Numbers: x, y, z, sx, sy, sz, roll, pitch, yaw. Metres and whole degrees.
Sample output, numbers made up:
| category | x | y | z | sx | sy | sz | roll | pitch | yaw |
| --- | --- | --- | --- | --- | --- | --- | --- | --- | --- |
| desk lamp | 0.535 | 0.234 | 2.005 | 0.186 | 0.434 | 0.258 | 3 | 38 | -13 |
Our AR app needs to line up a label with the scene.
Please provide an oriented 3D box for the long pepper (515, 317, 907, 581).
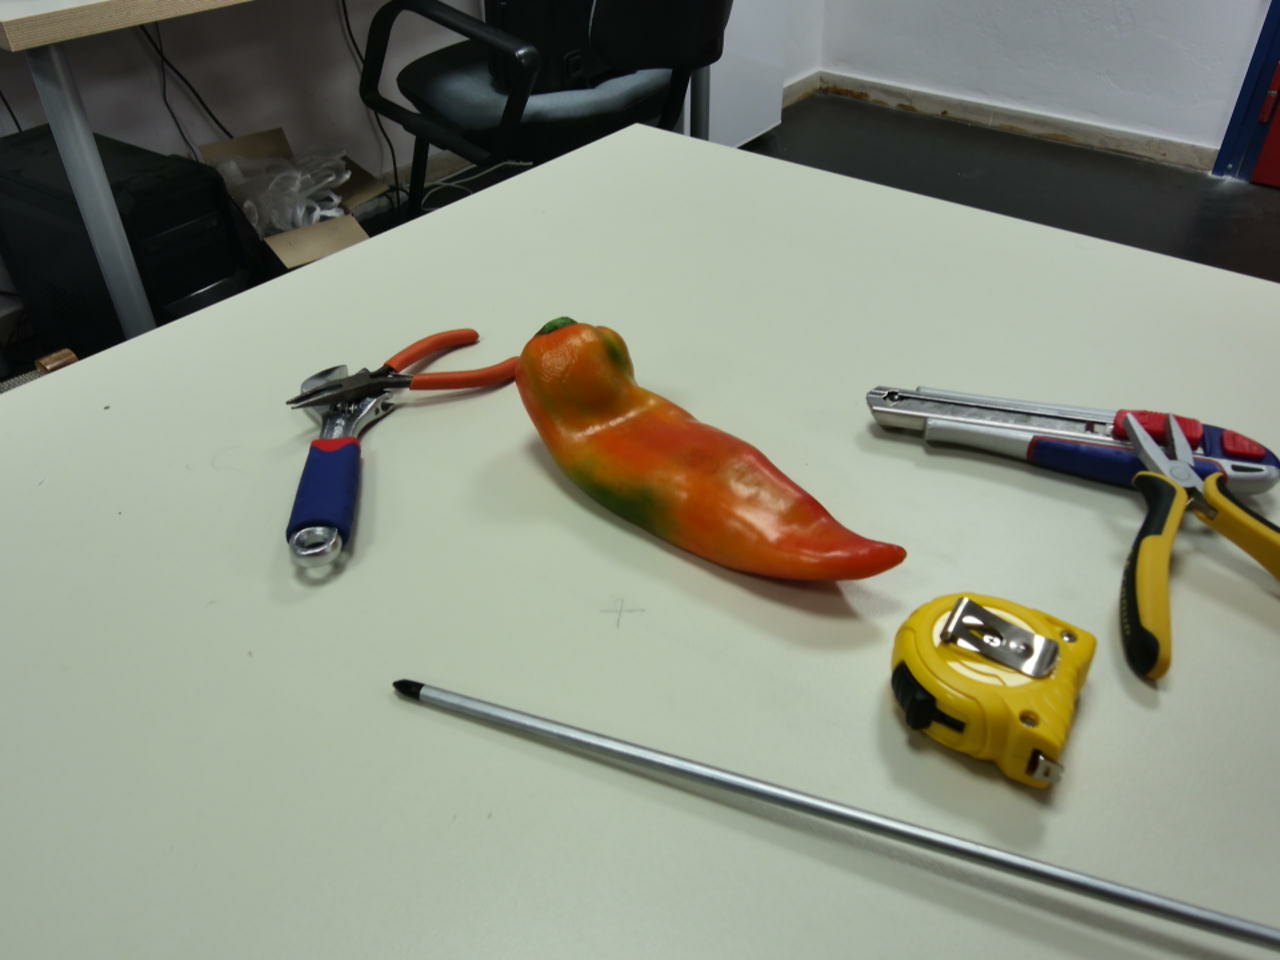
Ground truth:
| category | x | y | z | sx | sy | sz | roll | pitch | yaw |
| --- | --- | --- | --- | --- | --- | --- | --- | --- | --- |
| long pepper | 0.022 | -0.013 | 0.423 | 0.066 | 0.065 | 0.199 | -31 | 46 | -34 |
